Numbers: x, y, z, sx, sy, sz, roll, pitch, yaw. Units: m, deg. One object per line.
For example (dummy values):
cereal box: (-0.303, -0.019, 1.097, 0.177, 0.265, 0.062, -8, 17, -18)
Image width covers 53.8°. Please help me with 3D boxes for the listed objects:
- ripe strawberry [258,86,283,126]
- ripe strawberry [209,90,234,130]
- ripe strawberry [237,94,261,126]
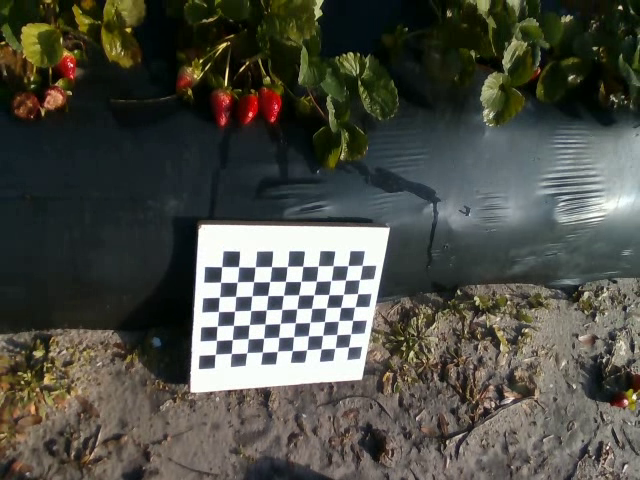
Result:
ripe strawberry: (-0.060, -0.155, 0.749, 0.035, 0.041, 0.033, -4, -29, -16)
ripe strawberry: (-0.116, -0.155, 0.734, 0.032, 0.045, 0.023, 0, 6, -17)
ripe strawberry: (-0.086, -0.154, 0.737, 0.031, 0.039, 0.036, 10, -47, -21)
